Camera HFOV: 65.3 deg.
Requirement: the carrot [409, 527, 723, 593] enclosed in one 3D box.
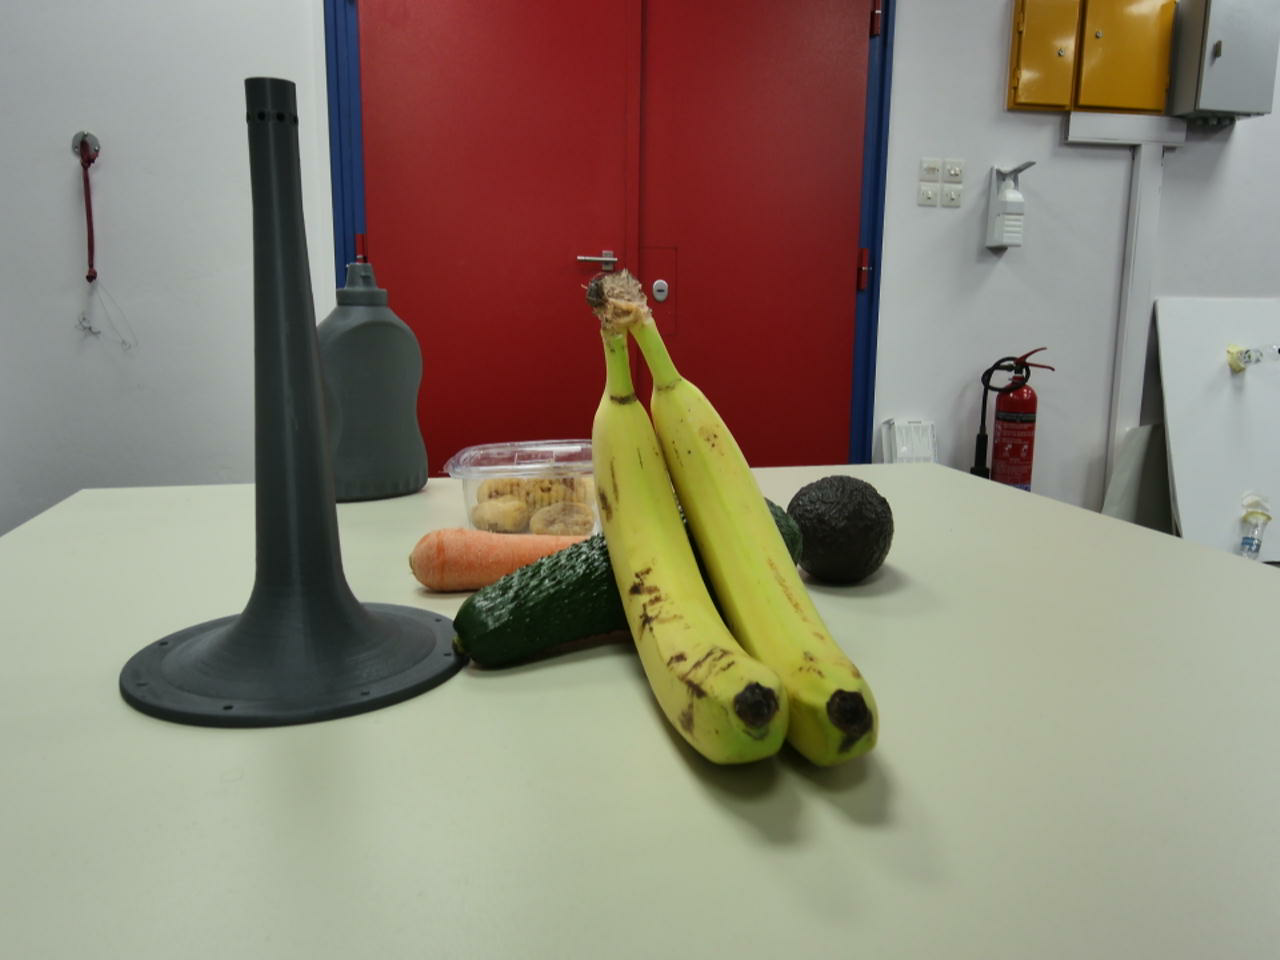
[{"bbox_3d":[-0.043,0.047,0.624,0.196,0.041,0.039,-2,8,-12],"label":"carrot"}]
